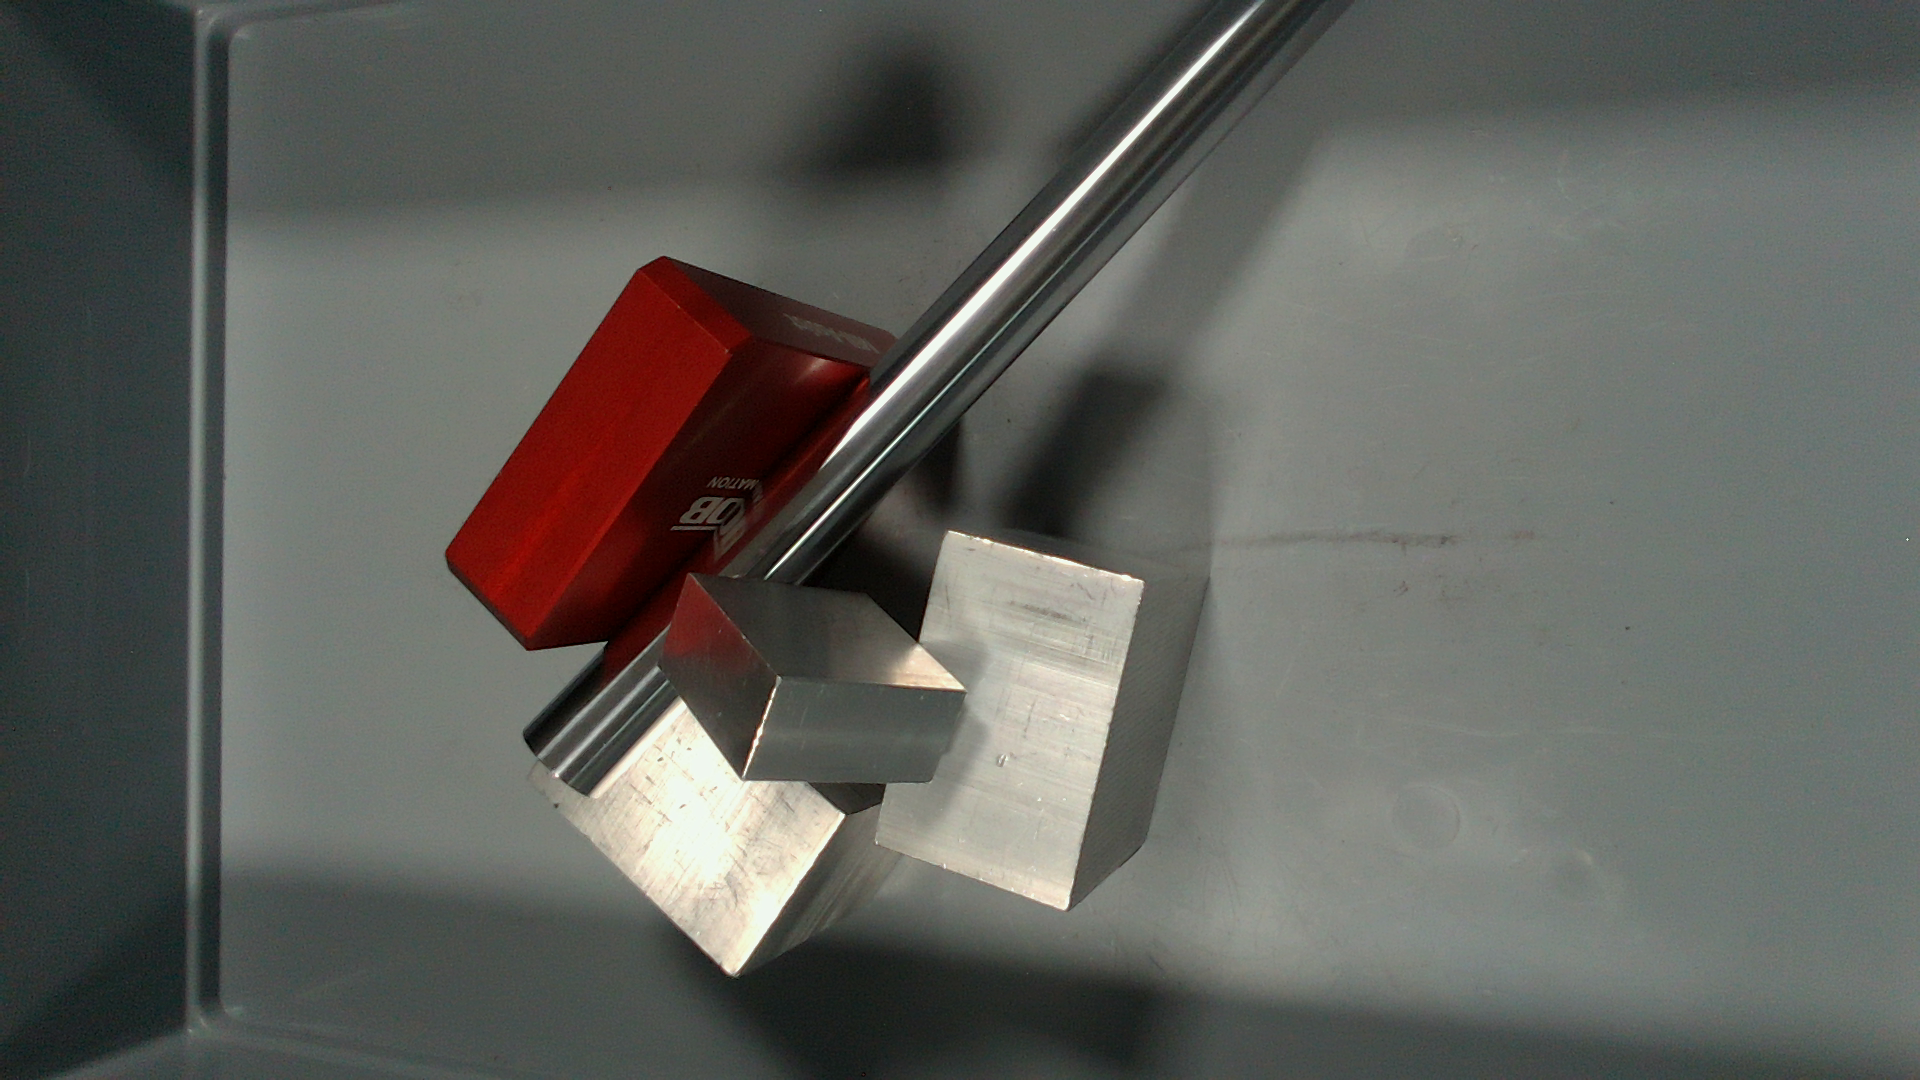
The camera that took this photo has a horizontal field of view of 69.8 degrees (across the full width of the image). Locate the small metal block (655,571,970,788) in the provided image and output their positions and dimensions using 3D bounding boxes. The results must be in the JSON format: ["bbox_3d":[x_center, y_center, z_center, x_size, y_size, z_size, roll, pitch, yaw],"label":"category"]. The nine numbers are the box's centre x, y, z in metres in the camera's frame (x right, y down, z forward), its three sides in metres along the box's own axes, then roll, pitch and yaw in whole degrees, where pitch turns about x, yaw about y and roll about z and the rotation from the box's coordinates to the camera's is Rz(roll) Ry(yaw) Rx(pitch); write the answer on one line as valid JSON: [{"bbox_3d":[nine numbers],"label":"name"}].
[{"bbox_3d":[-0.035,0.032,0.315,0.050,0.050,0.025,40,114,48],"label":"small metal block"}]

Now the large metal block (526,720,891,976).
[{"bbox_3d":[-0.058,0.065,0.388,0.080,0.080,0.050,38,102,16],"label":"large metal block"}]

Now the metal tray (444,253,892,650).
[{"bbox_3d":[-0.060,-0.019,0.360,0.030,0.130,0.090,42,104,16],"label":"metal tray"}]

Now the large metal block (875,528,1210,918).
[{"bbox_3d":[0.025,0.042,0.358,0.050,0.080,0.080,14,95,20],"label":"large metal block"}]

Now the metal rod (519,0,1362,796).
[{"bbox_3d":[0.006,-0.055,0.345,0.025,0.025,0.300,43,86,15],"label":"metal rod"}]
